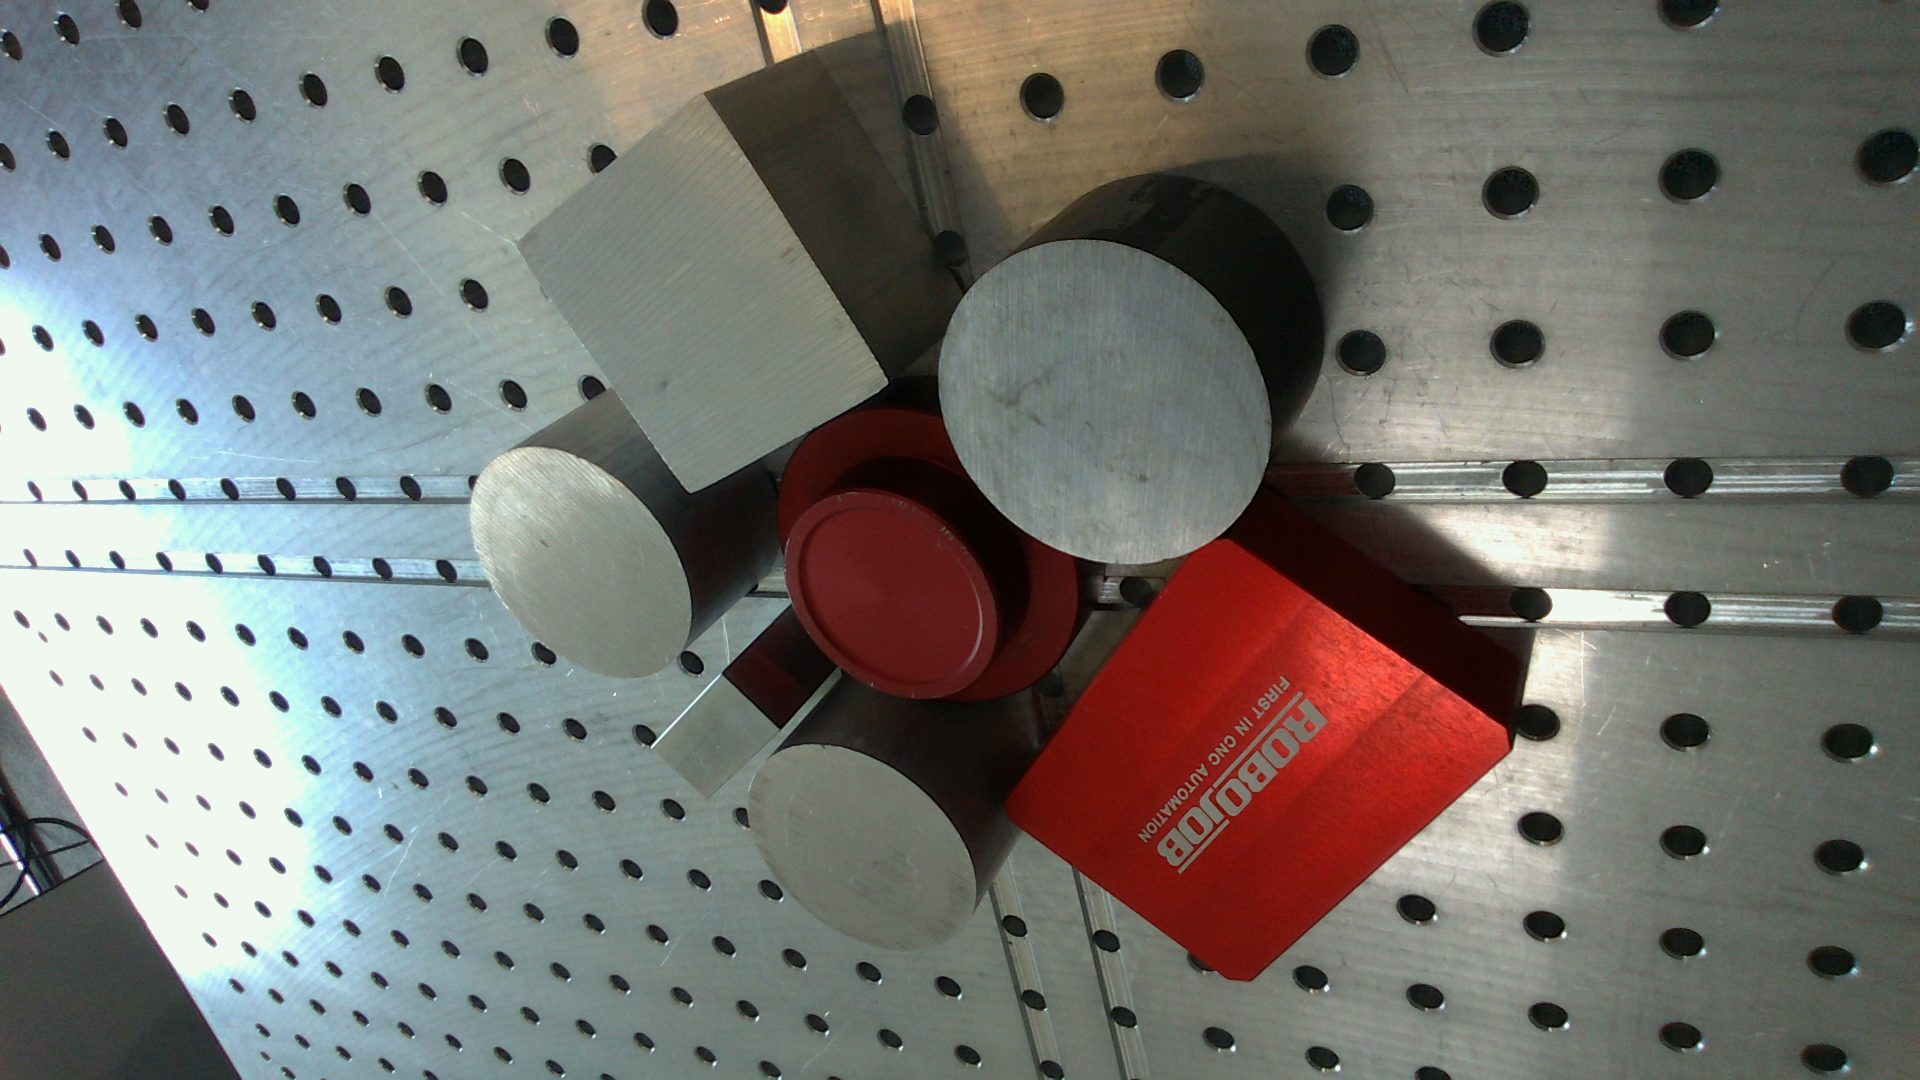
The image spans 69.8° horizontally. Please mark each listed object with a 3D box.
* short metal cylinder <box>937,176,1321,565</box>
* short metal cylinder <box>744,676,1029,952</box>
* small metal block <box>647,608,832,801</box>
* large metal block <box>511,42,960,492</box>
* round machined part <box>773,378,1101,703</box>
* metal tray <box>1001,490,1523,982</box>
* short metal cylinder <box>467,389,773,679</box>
[{"bbox_3d":[0.041,-0.041,0.331,0.080,0.050,0.080,13,124,21],"label":"short metal cylinder"},{"bbox_3d":[-0.022,0.084,0.443,0.080,0.050,0.080,13,124,21],"label":"short metal cylinder"},{"bbox_3d":[-0.067,0.050,0.446,0.025,0.050,0.050,44,129,-2],"label":"small metal block"},{"bbox_3d":[-0.057,-0.071,0.367,0.080,0.050,0.080,-24,106,37],"label":"large metal block"},{"bbox_3d":[-0.012,0.007,0.395,0.098,0.042,0.098,13,124,21],"label":"round machined part"},{"bbox_3d":[0.079,0.058,0.385,0.090,0.030,0.130,35,129,5],"label":"metal tray"},{"bbox_3d":[-0.106,-0.004,0.433,0.080,0.050,0.080,13,124,21],"label":"short metal cylinder"}]
